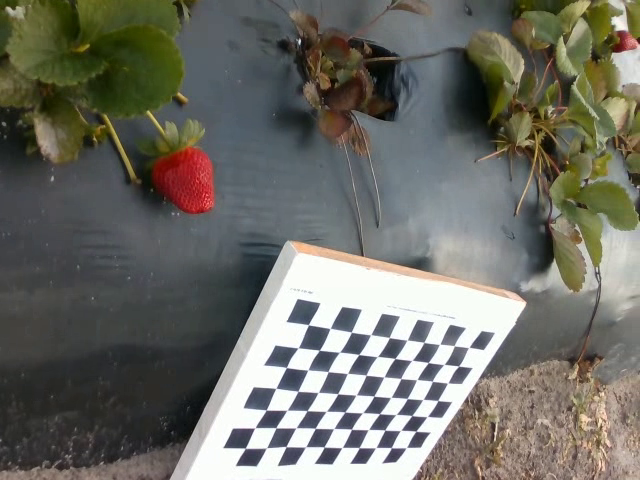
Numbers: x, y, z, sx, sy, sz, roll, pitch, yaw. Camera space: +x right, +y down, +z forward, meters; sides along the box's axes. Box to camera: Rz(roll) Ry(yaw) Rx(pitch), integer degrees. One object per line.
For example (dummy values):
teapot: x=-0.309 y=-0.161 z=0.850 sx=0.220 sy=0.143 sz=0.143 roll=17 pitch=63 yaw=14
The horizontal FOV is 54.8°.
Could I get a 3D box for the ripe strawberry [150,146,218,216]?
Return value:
ripe strawberry: x=-0.090 y=-0.038 z=0.411 sx=0.045 sy=0.055 sz=0.042 roll=-30 pitch=-24 yaw=-5
